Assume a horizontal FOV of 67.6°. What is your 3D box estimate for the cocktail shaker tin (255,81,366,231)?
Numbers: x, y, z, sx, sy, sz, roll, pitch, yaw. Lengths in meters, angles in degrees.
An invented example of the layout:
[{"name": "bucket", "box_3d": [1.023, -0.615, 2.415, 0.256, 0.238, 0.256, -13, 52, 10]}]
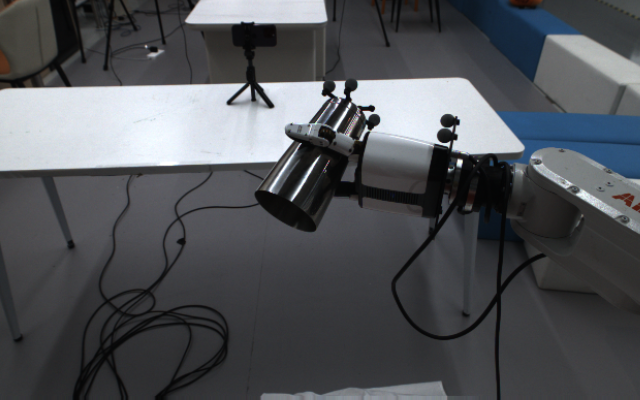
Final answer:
[{"name": "cocktail shaker tin", "box_3d": [-0.002, -0.056, 0.646, 0.093, 0.093, 0.170, 20, 67, 24]}]
